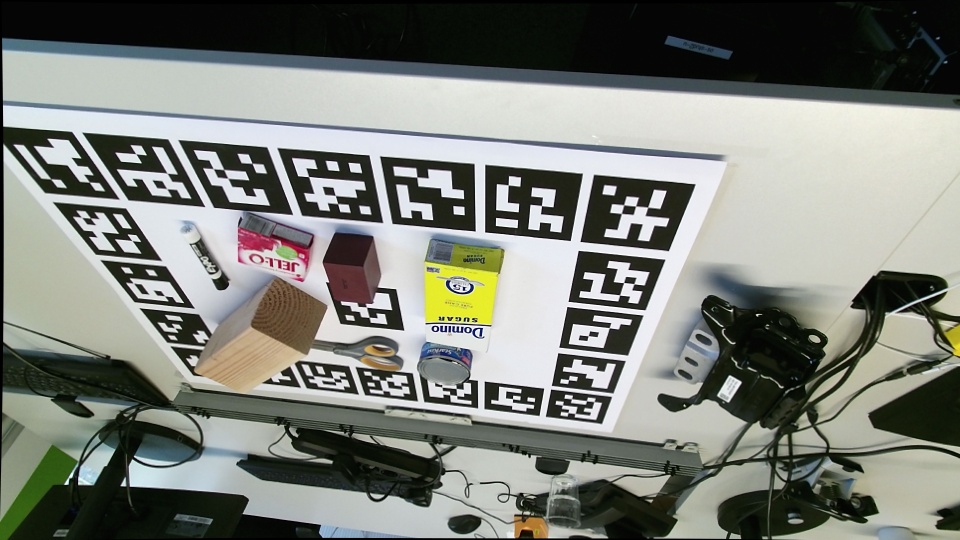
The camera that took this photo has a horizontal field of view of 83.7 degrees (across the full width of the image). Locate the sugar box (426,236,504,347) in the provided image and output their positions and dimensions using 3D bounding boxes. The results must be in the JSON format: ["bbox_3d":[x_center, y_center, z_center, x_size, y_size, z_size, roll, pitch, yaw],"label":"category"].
[{"bbox_3d":[-0.025,0.034,0.727,0.093,0.045,0.176,9,137,1],"label":"sugar box"}]

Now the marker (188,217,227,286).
[{"bbox_3d":[-0.376,-0.022,0.743,0.020,0.019,0.121,7,134,3],"label":"marker"}]

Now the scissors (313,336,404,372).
[{"bbox_3d":[-0.225,0.128,0.879,0.203,0.016,0.088,9,136,-3],"label":"scissors"}]

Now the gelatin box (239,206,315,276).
[{"bbox_3d":[-0.267,-0.036,0.704,0.090,0.030,0.073,18,135,-10],"label":"gelatin box"}]

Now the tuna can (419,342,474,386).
[{"bbox_3d":[-0.053,0.147,0.852,0.086,0.033,0.086,5,136,5],"label":"tuna can"}]

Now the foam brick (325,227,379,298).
[{"bbox_3d":[-0.165,-0.009,0.693,0.053,0.051,0.078,7,136,2],"label":"foam brick"}]

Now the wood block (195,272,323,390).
[{"bbox_3d":[-0.344,0.097,0.818,0.090,0.090,0.206,37,131,-27],"label":"wood block"}]
